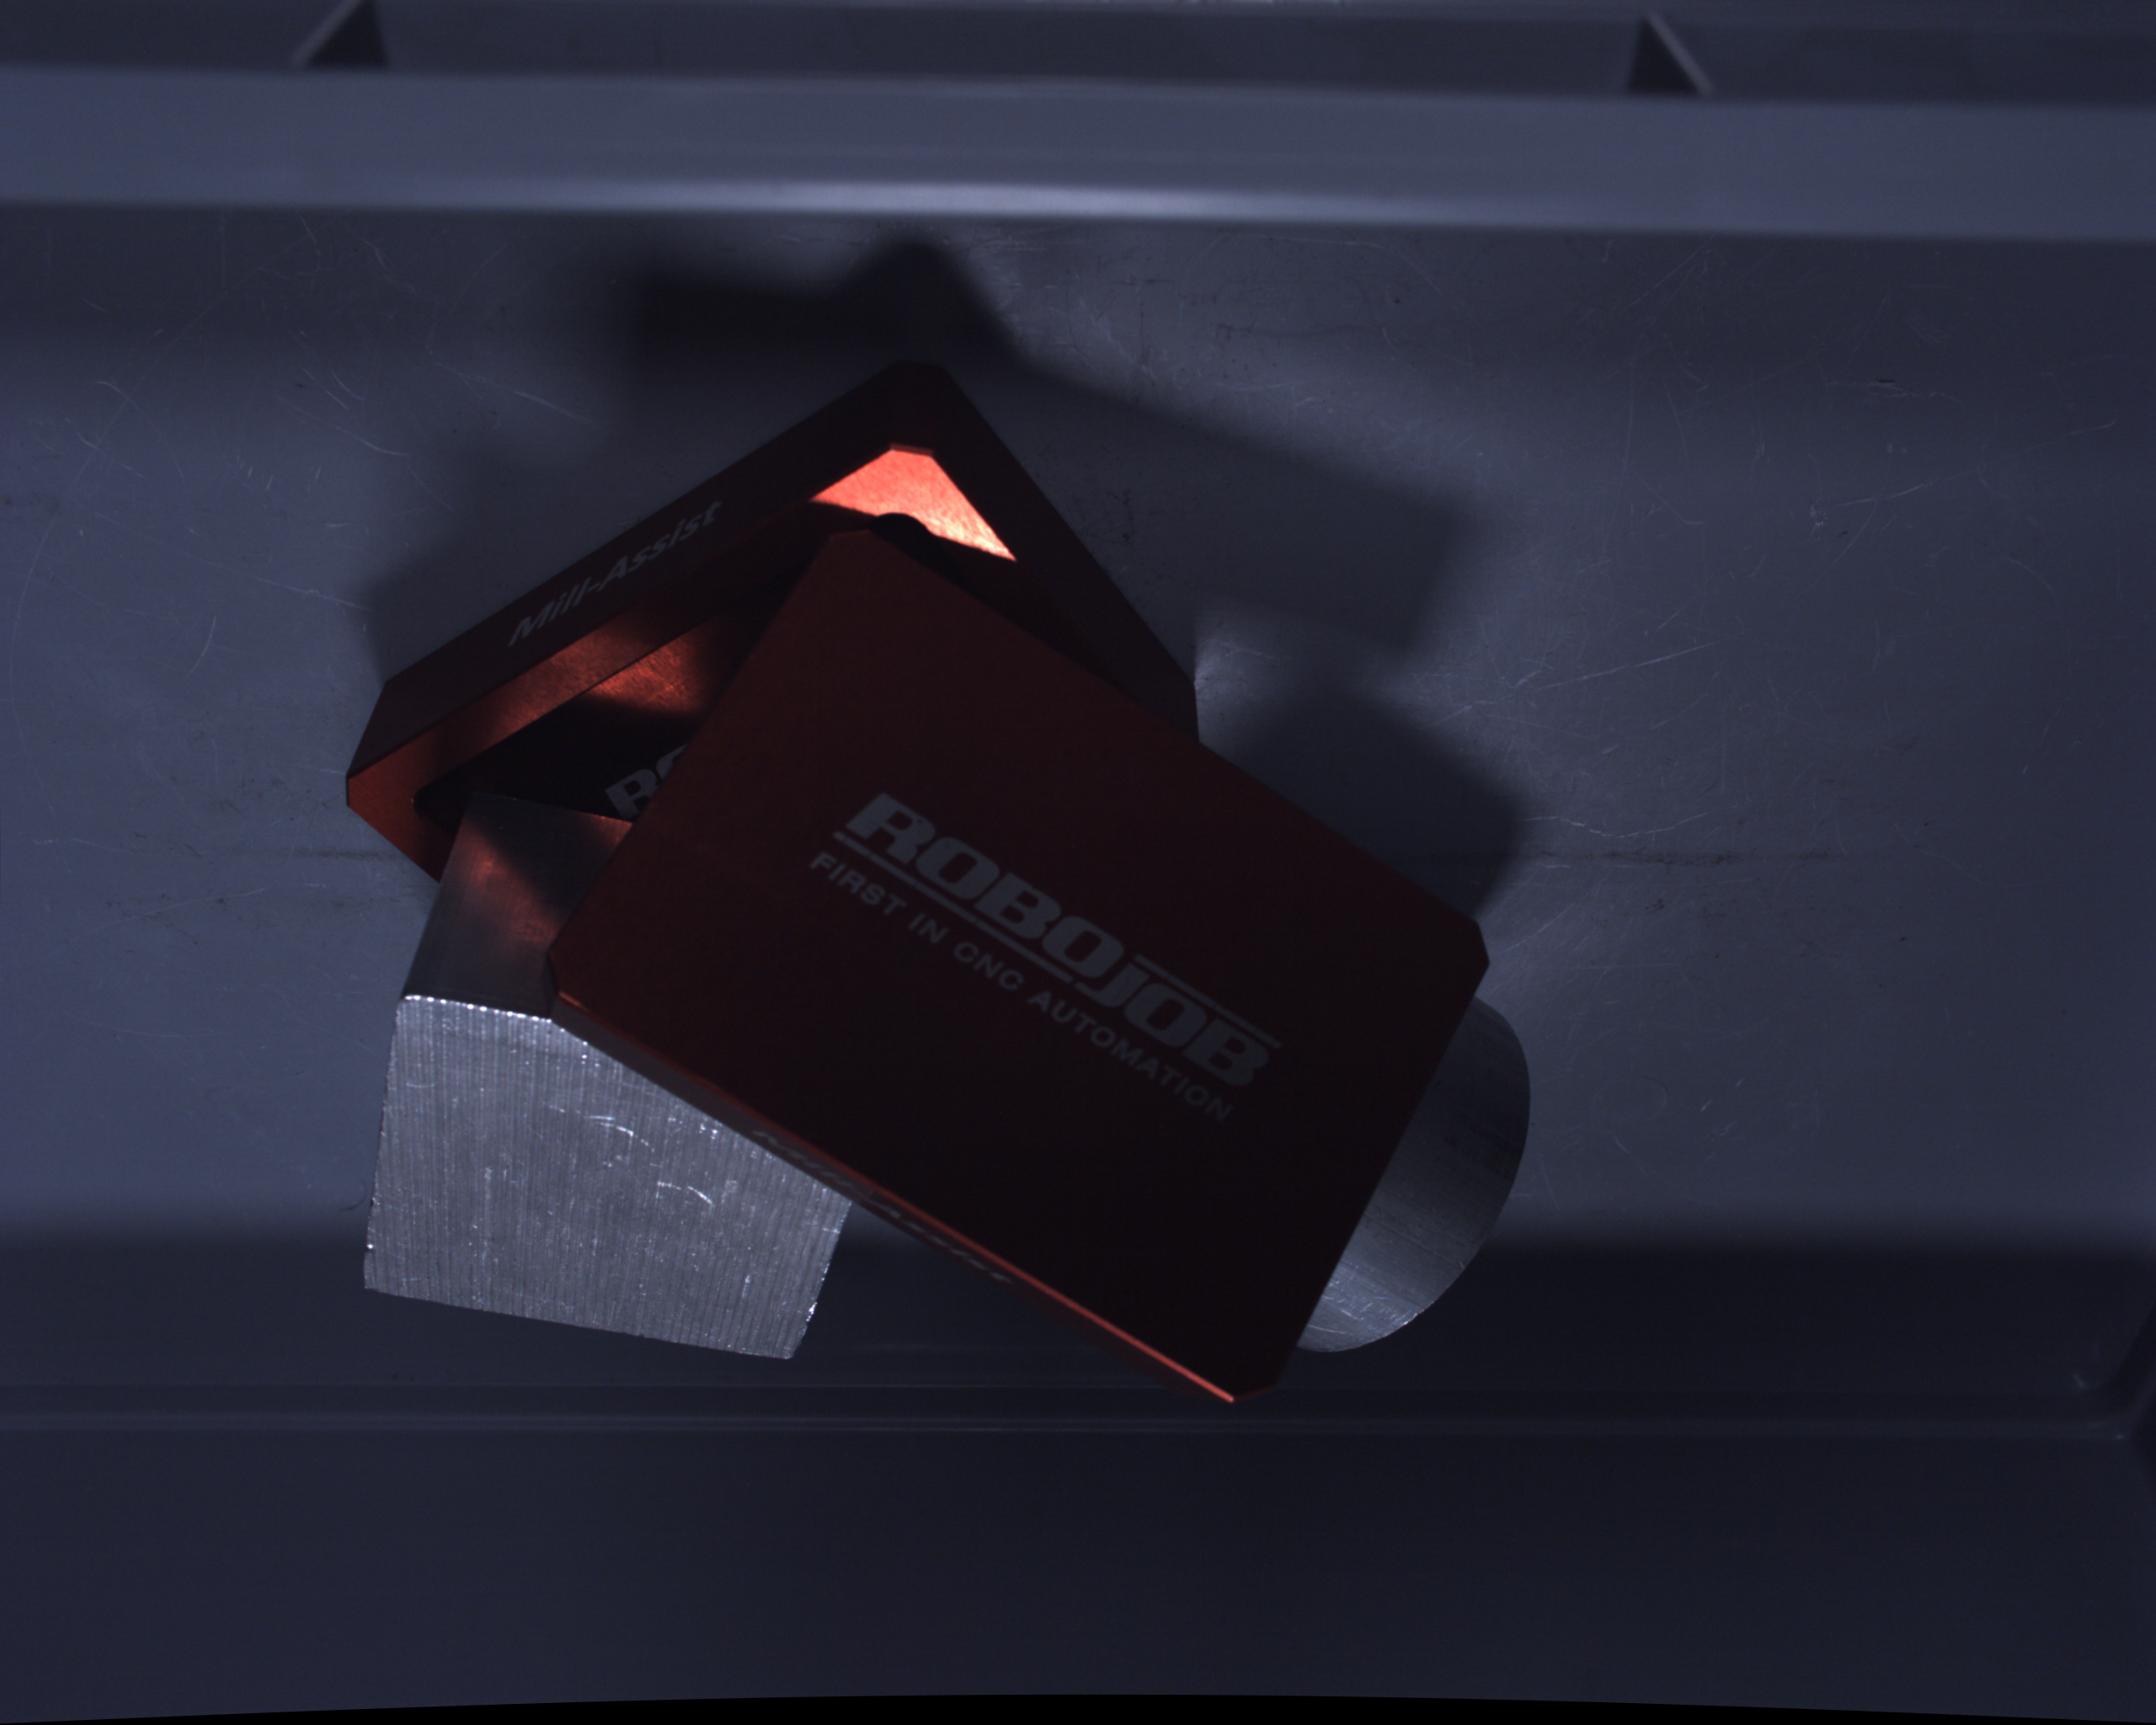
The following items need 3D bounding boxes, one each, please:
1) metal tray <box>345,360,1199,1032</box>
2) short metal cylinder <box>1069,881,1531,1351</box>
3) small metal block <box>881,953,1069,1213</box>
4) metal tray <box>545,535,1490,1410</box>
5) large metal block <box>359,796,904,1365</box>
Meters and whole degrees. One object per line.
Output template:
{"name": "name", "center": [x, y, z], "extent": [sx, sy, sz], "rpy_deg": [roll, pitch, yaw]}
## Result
{"name": "metal tray", "center": [-0.055, -0.022, 0.384], "extent": [0.130, 0.030, 0.090], "rpy_deg": [-27, 126, 21]}
{"name": "short metal cylinder", "center": [0.042, 0.050, 0.415], "extent": [0.050, 0.080, 0.080], "rpy_deg": [32, 123, -25]}
{"name": "small metal block", "center": [-0.026, 0.048, 0.448], "extent": [0.050, 0.025, 0.050], "rpy_deg": [-23, 127, 18]}
{"name": "metal tray", "center": [-0.008, 0.019, 0.342], "extent": [0.130, 0.090, 0.030], "rpy_deg": [32, 162, -8]}
{"name": "large metal block", "center": [-0.081, 0.042, 0.383], "extent": [0.081, 0.050, 0.079], "rpy_deg": [13, 129, -11]}
